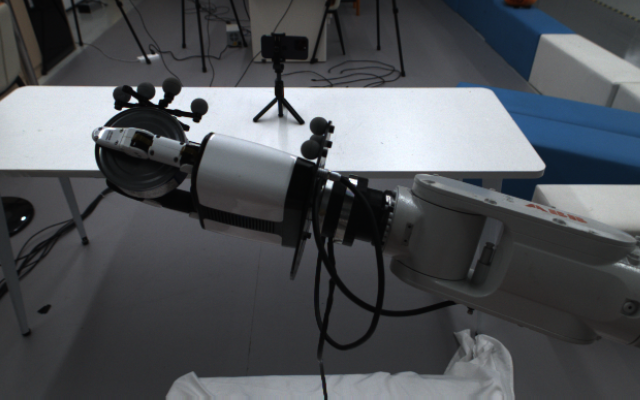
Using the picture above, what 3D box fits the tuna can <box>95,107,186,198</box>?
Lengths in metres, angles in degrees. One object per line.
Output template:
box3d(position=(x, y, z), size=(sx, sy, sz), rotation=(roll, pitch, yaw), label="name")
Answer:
box3d(position=(-0.170, -0.046, 0.476), size=(0.085, 0.034, 0.085), rotation=(1, 73, -3), label="tuna can")
